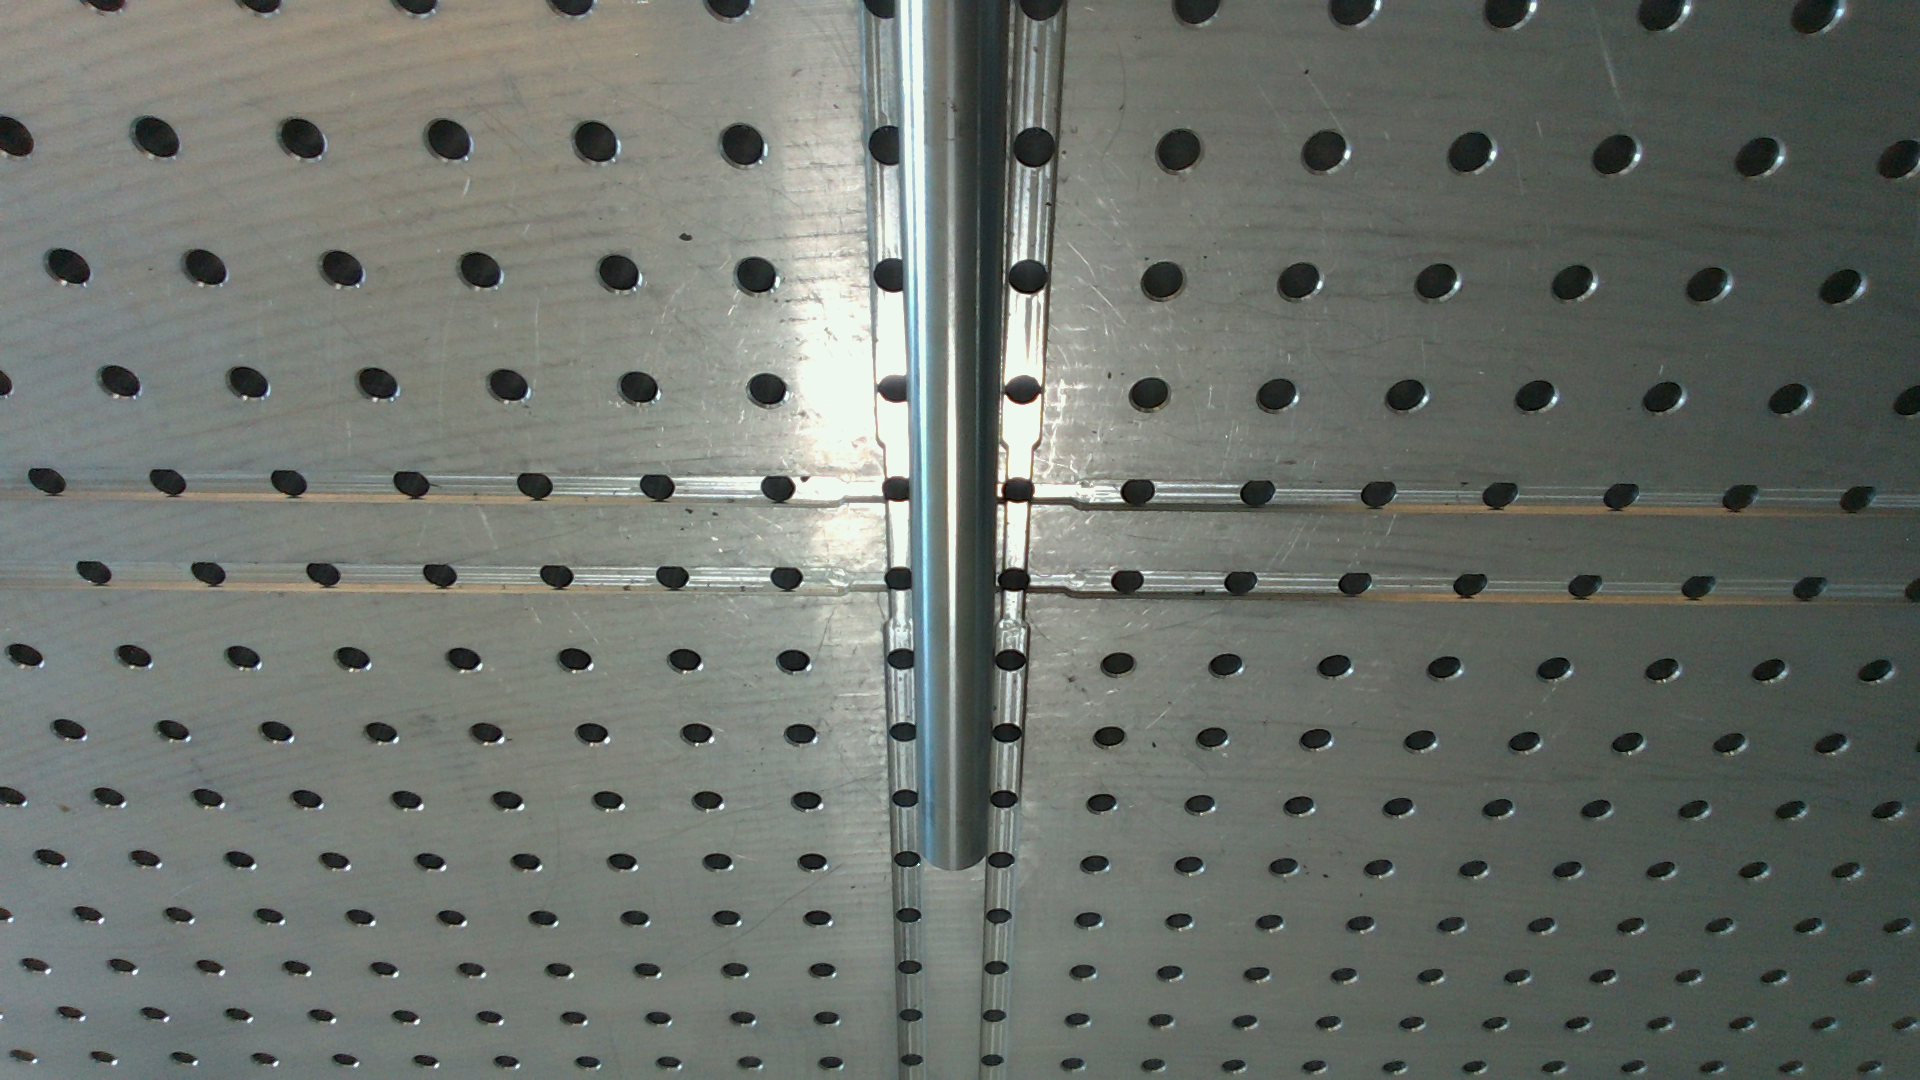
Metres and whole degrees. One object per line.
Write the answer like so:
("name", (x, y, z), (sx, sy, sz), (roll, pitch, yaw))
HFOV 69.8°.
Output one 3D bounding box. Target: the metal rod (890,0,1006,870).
("metal rod", (-0.003, -0.009, 0.386), (0.025, 0.025, 0.300), (0, 130, 0))
